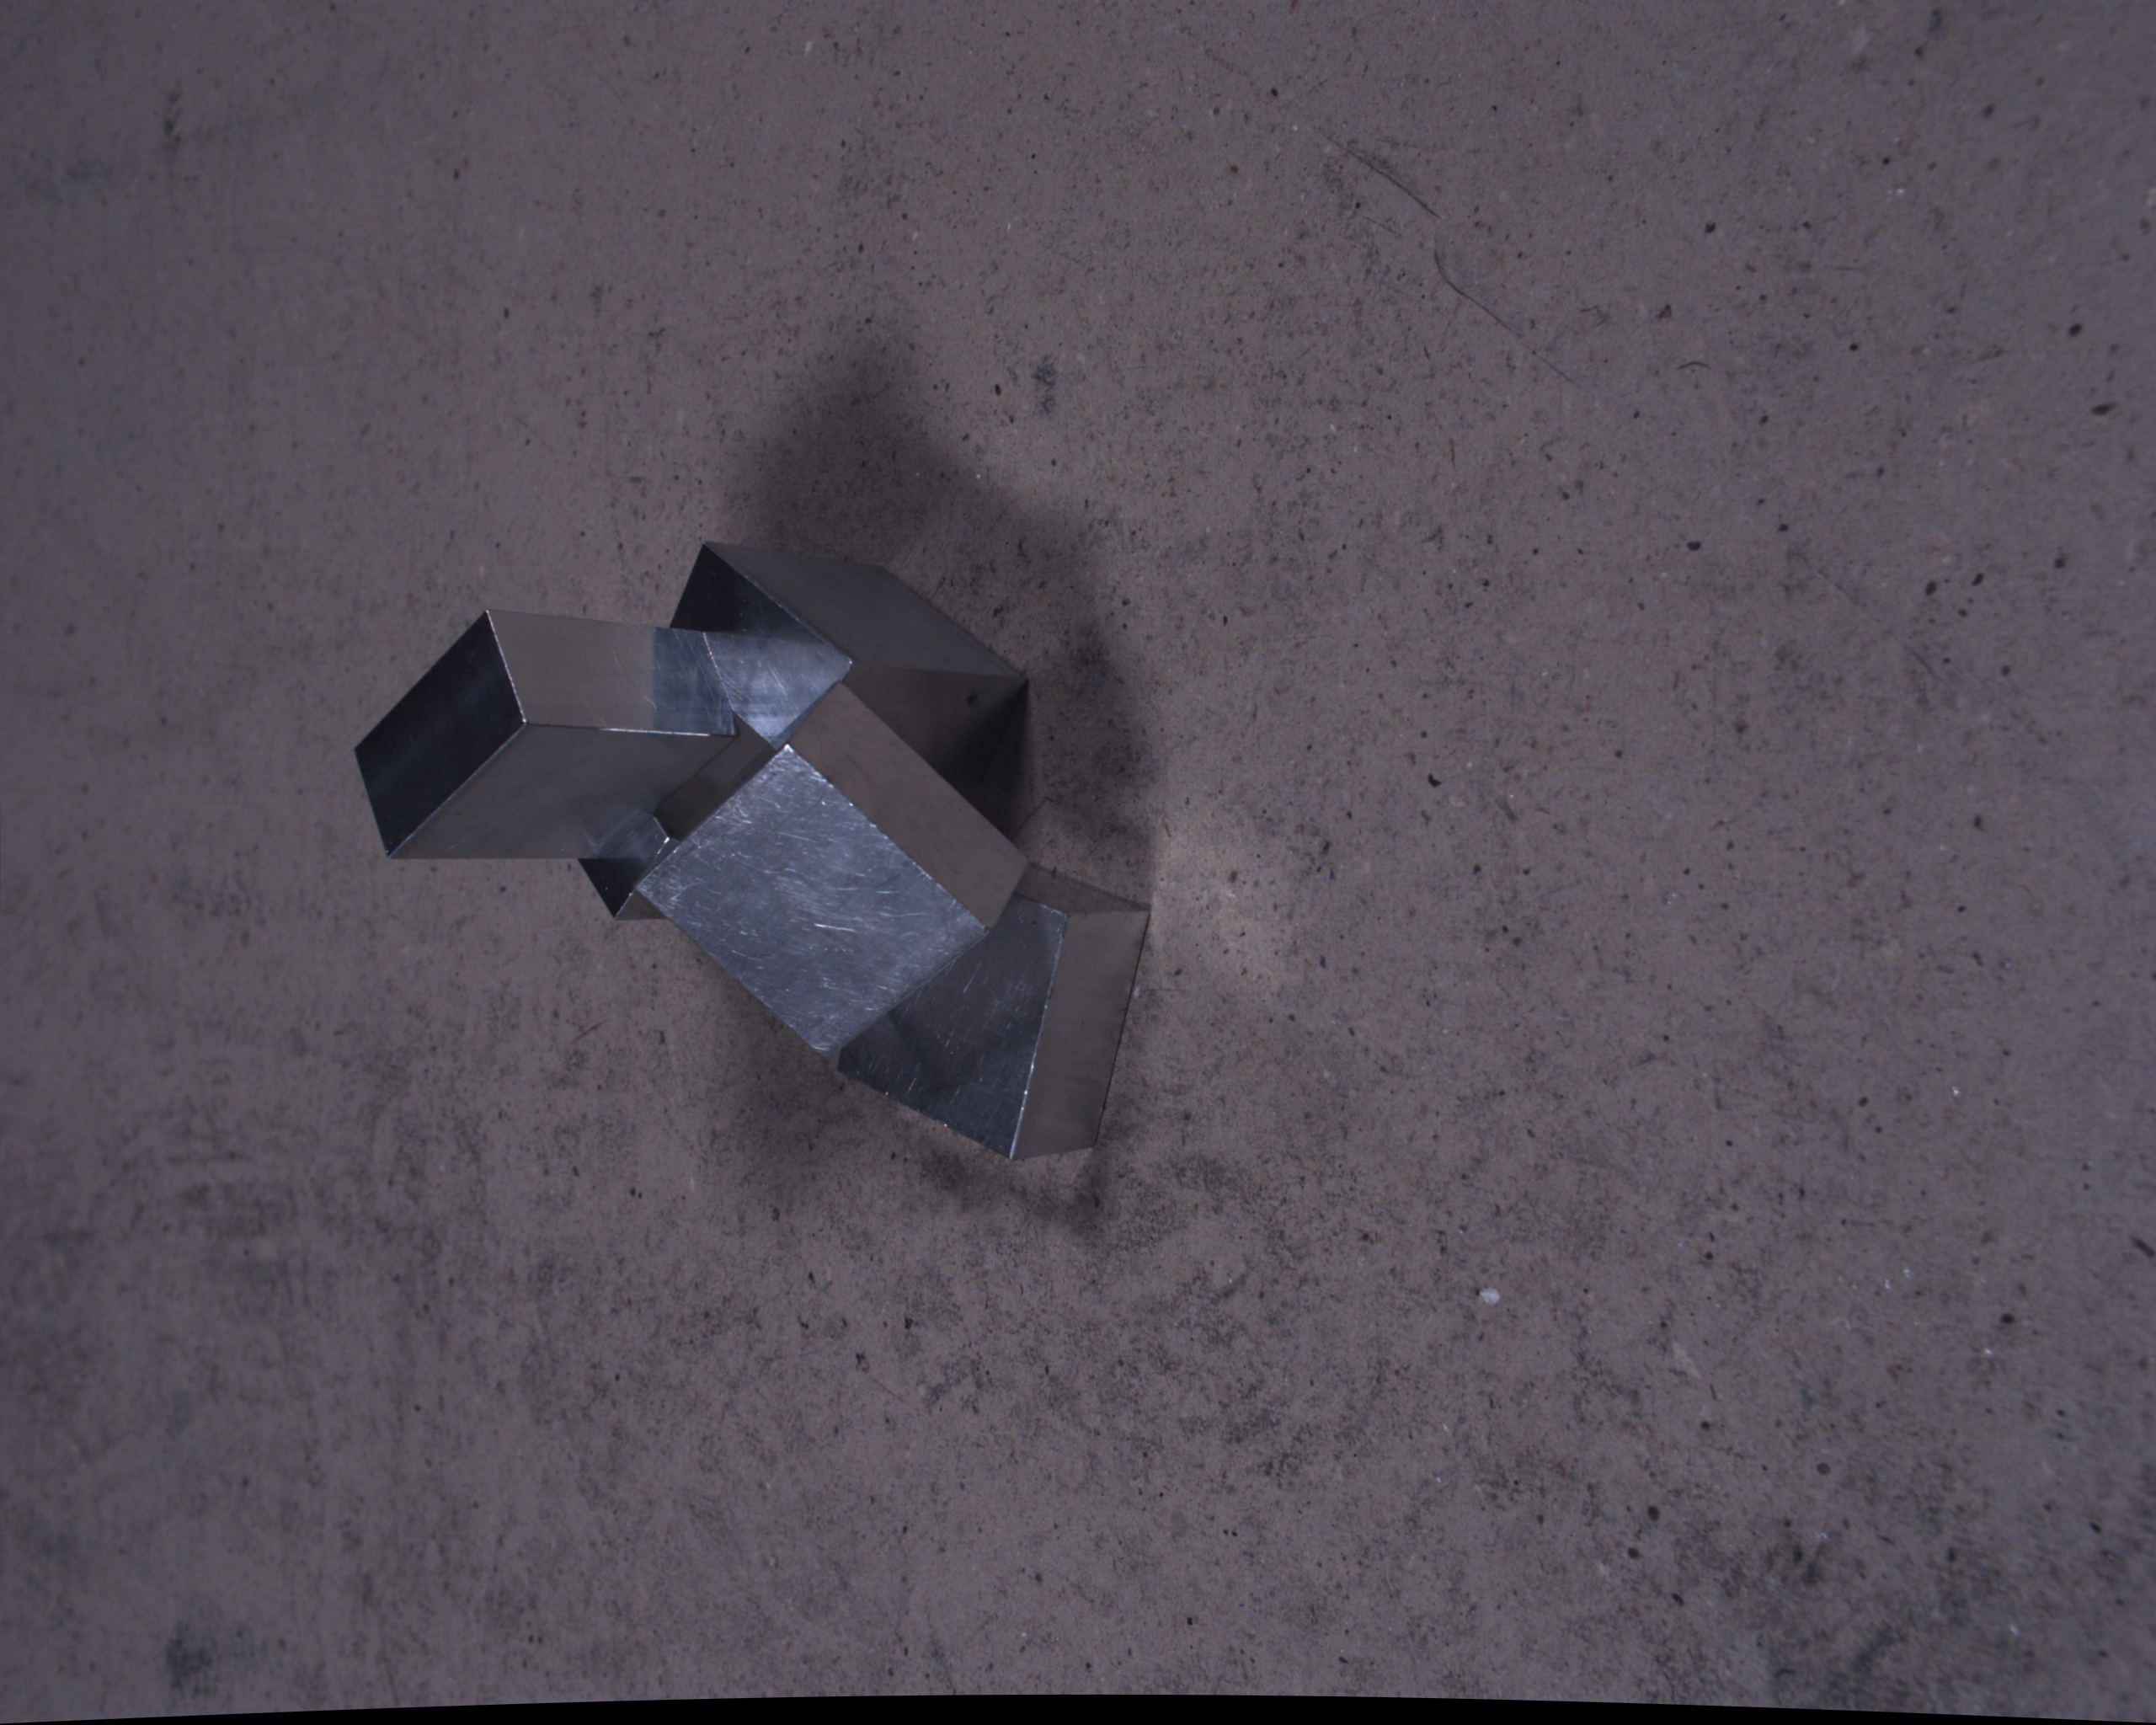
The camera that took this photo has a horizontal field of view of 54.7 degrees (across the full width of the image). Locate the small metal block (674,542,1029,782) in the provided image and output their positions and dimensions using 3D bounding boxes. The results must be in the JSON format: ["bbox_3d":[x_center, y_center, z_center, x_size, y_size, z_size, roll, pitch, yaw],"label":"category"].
[{"bbox_3d":[-0.048,-0.041,0.428,0.050,0.050,0.025,39,114,32],"label":"small metal block"}]

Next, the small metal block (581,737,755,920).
[{"bbox_3d":[-0.087,-0.014,0.460,0.025,0.050,0.050,-52,60,27],"label":"small metal block"}]

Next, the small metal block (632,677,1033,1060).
[{"bbox_3d":[-0.046,0.002,0.394,0.050,0.025,0.050,44,124,-12],"label":"small metal block"}]

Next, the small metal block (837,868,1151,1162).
[{"bbox_3d":[-0.018,0.026,0.419,0.050,0.025,0.050,21,103,37],"label":"small metal block"}]

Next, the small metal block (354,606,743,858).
[{"bbox_3d":[-0.103,-0.024,0.408,0.050,0.050,0.025,-36,68,34],"label":"small metal block"}]
